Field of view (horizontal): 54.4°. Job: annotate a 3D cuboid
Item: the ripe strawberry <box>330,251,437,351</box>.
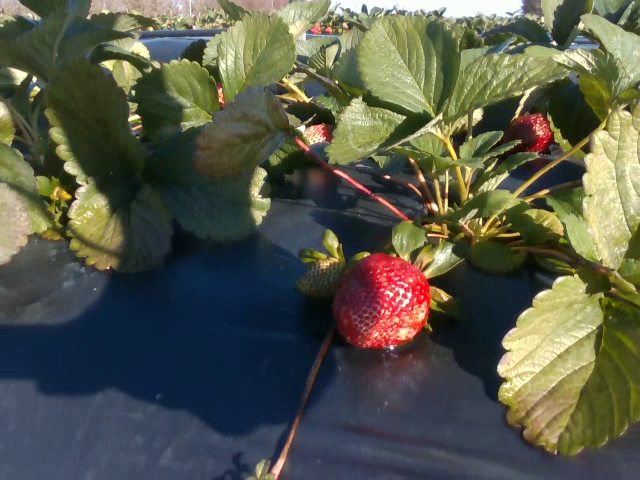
[{"bbox_3d":[0.021,0.025,0.232,0.041,0.043,0.053,20,15,21],"label":"ripe strawberry"}]
